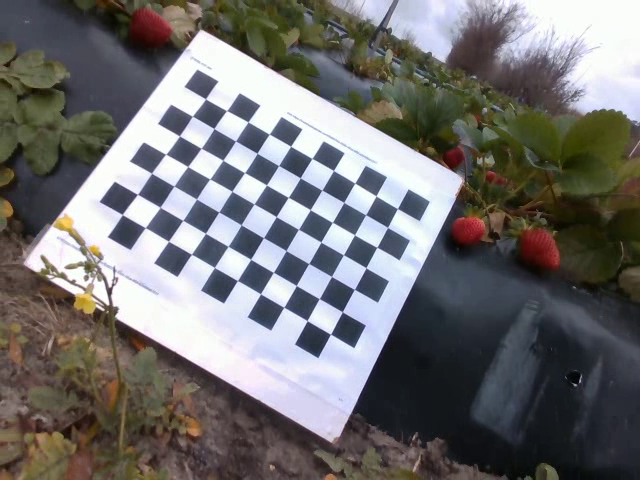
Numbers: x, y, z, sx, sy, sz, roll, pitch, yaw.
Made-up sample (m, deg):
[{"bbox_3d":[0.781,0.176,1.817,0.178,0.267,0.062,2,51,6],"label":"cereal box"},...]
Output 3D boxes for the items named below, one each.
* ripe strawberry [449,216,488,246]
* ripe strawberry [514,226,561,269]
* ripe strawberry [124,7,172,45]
[{"bbox_3d":[0.148,-0.012,0.601,0.036,0.028,0.041,25,50,11],"label":"ripe strawberry"},{"bbox_3d":[0.224,0.007,0.619,0.044,0.059,0.042,-20,-39,-4],"label":"ripe strawberry"},{"bbox_3d":[-0.188,-0.243,0.695,0.064,0.046,0.049,24,-18,36],"label":"ripe strawberry"}]
